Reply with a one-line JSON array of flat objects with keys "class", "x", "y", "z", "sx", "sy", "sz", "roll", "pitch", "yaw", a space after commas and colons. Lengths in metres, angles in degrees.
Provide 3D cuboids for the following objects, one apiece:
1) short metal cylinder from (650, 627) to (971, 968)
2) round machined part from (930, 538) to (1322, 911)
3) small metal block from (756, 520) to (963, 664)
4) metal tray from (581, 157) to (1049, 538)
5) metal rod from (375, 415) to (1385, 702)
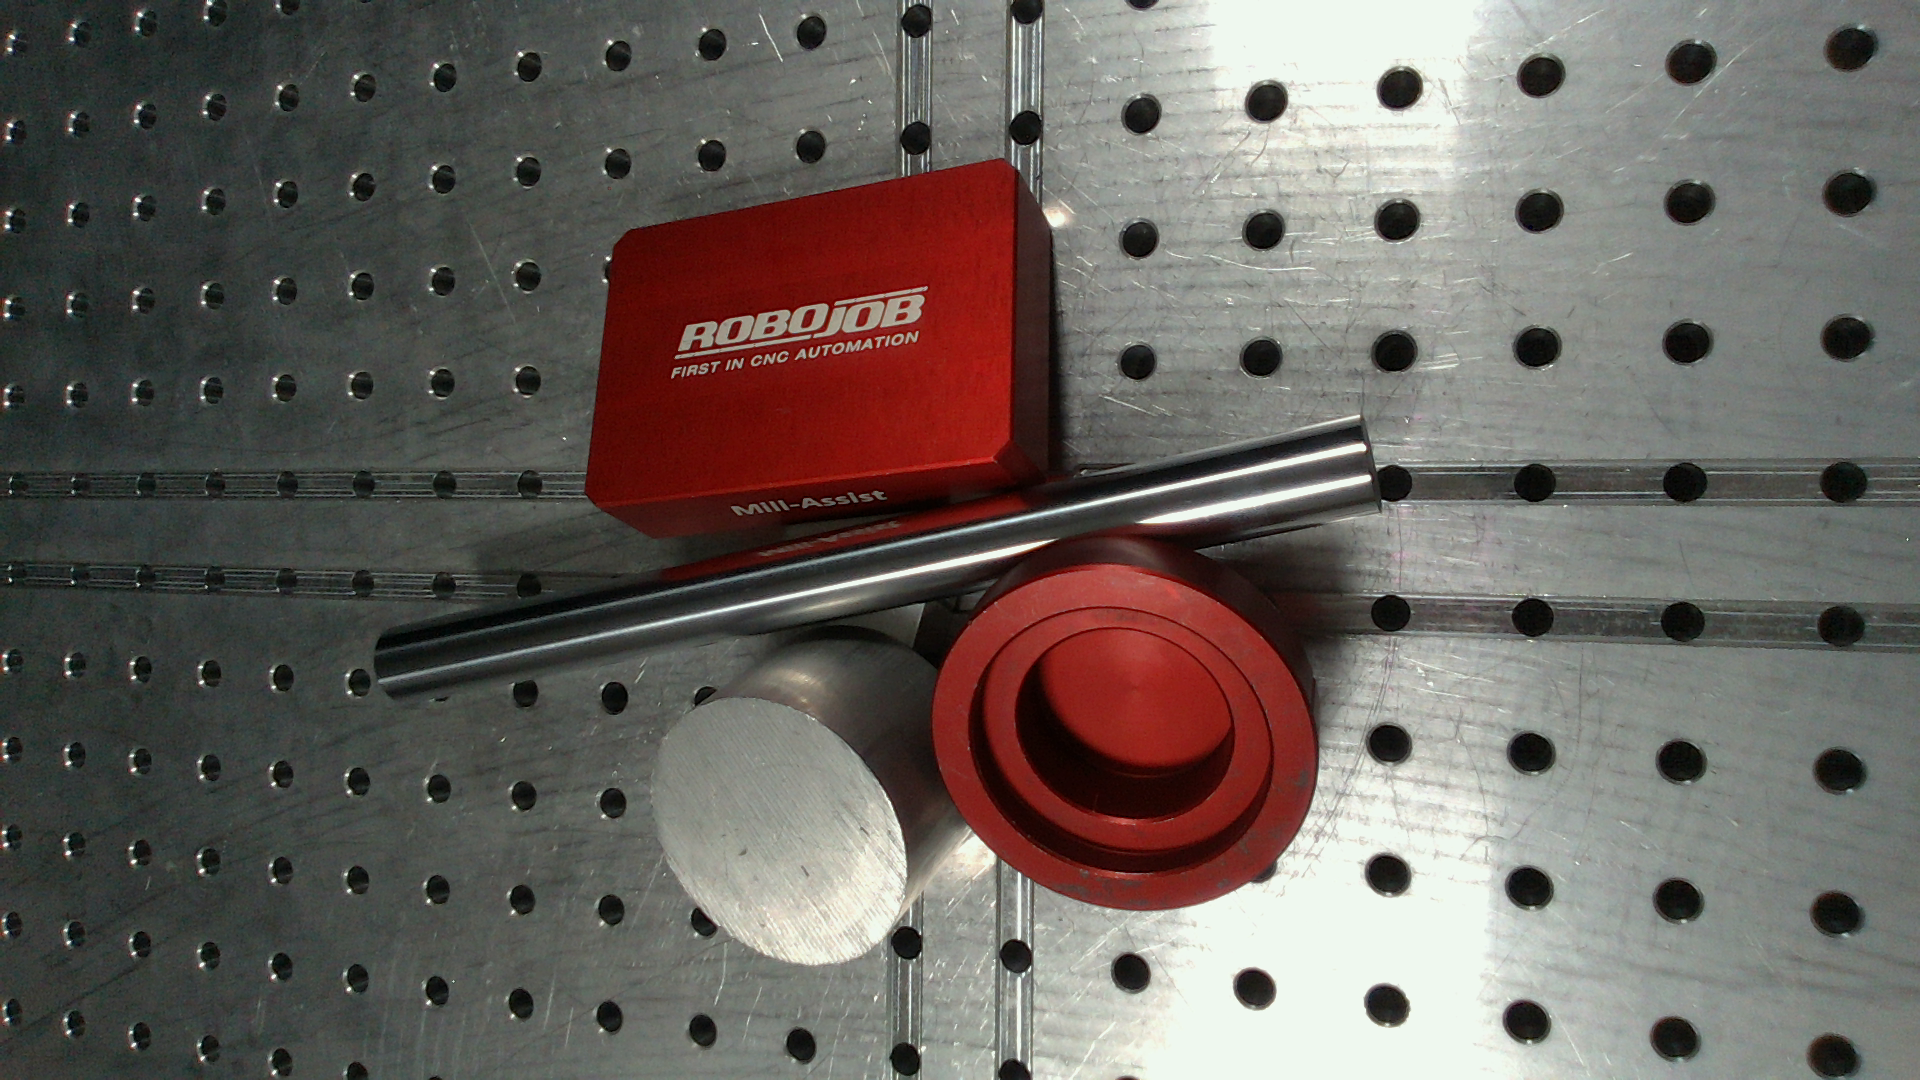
[{"class": "short metal cylinder", "x": -0.039, "y": 0.071, "z": 0.387, "sx": 0.080, "sy": 0.050, "sz": 0.080, "roll": 9, "pitch": 112, "yaw": 23}, {"class": "round machined part", "x": 0.045, "y": 0.044, "z": 0.361, "sx": 0.098, "sy": 0.042, "sz": 0.098, "roll": 6, "pitch": 113, "yaw": 14}, {"class": "small metal block", "x": -0.028, "y": 0.018, "z": 0.418, "sx": 0.050, "sy": 0.025, "sz": 0.050, "roll": 19, "pitch": 96, "yaw": 19}, {"class": "metal tray", "x": -0.041, "y": -0.053, "z": 0.396, "sx": 0.130, "sy": 0.030, "sz": 0.090, "roll": -5, "pitch": 70, "yaw": 19}, {"class": "metal rod", "x": -0.037, "y": 0.010, "z": 0.385, "sx": 0.299, "sy": 0.025, "sz": 0.025, "roll": -12, "pitch": 86, "yaw": 19}]
